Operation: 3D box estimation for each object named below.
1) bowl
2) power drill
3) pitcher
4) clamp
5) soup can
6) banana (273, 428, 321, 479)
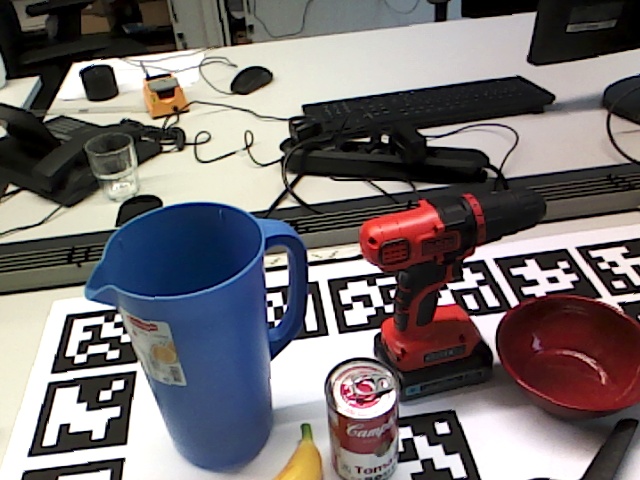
[{"bbox_3d":[0.257,0.123,0.643,0.162,0.055,0.162,-4,38,2],"label":"bowl"},{"bbox_3d":[0.135,0.039,0.630,0.184,0.186,0.058,-11,37,-10],"label":"power drill"},{"bbox_3d":[-0.094,0.089,0.575,0.188,0.242,0.134,-25,38,-24],"label":"pitcher"},{"bbox_3d":[0.226,0.227,0.513,0.202,0.036,0.166,-10,41,-7],"label":"clamp"},{"bbox_3d":[0.039,0.164,0.579,0.068,0.102,0.068,-5,28,2],"label":"soup can"},{"bbox_3d":[-0.072,0.238,0.547,0.196,0.039,0.075,-24,33,-26],"label":"banana"}]
